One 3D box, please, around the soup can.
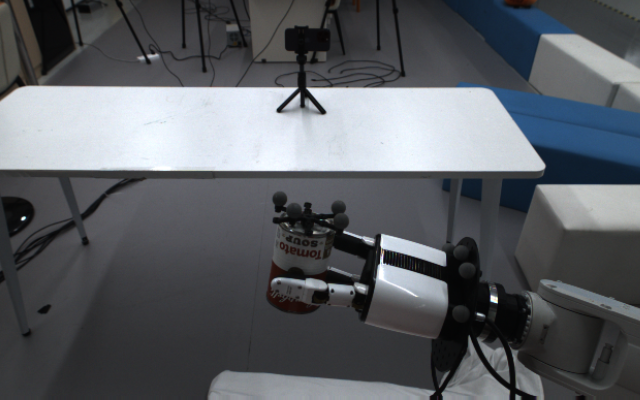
[{"bbox_3d":[-0.021,0.071,0.565,0.067,0.101,0.067,9,20,-3],"label":"soup can"}]
